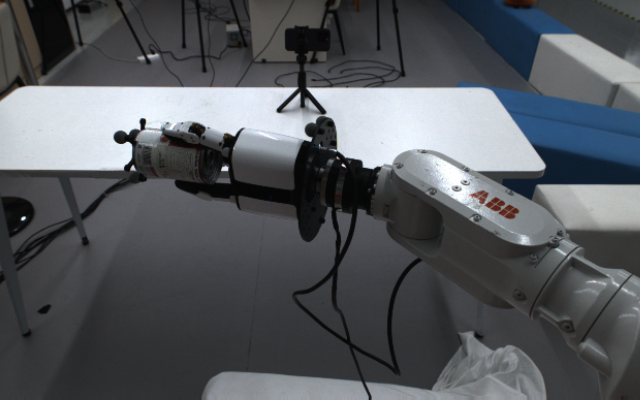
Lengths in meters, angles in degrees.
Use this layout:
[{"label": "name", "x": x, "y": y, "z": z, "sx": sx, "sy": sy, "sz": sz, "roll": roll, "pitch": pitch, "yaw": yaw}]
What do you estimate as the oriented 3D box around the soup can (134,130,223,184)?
[{"label": "soup can", "x": -0.192, "y": -0.059, "z": 0.661, "sx": 0.101, "sy": 0.067, "sz": 0.067, "roll": 8, "pitch": 35, "yaw": 10}]
